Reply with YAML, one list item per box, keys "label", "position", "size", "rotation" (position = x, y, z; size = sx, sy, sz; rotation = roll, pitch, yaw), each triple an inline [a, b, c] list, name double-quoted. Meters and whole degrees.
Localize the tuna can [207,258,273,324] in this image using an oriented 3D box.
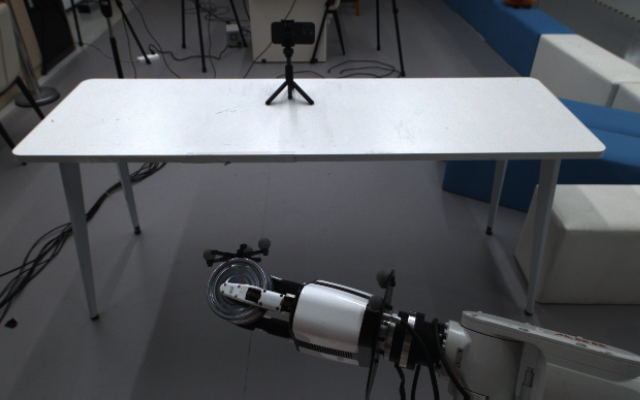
- label: "tuna can"
  position: [-0.103, 0.127, 0.644]
  size: [0.085, 0.034, 0.085]
  rotation: [-4, 67, 9]
